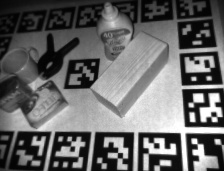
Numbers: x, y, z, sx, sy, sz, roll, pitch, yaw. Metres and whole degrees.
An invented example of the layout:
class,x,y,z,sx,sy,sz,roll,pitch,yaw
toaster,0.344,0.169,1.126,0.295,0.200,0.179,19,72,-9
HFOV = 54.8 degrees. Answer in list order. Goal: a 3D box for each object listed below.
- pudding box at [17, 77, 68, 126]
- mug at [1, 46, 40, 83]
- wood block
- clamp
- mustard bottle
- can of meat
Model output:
class,x,y,z,sx,sy,sz,roll,pitch,yaw
pudding box,-0.197,0.045,0.614,0.114,0.039,0.089,-38,65,-8
mug,-0.274,-0.070,0.682,0.092,0.082,0.117,20,74,20
wood block,0.047,-0.036,0.573,0.089,0.092,0.207,35,75,26
clamp,-0.191,-0.108,0.686,0.121,0.037,0.165,17,73,17
mustard bottle,0.000,-0.151,0.572,0.096,0.193,0.058,-8,66,11
can of meat,-0.297,0.018,0.616,0.102,0.084,0.057,-30,64,-2
